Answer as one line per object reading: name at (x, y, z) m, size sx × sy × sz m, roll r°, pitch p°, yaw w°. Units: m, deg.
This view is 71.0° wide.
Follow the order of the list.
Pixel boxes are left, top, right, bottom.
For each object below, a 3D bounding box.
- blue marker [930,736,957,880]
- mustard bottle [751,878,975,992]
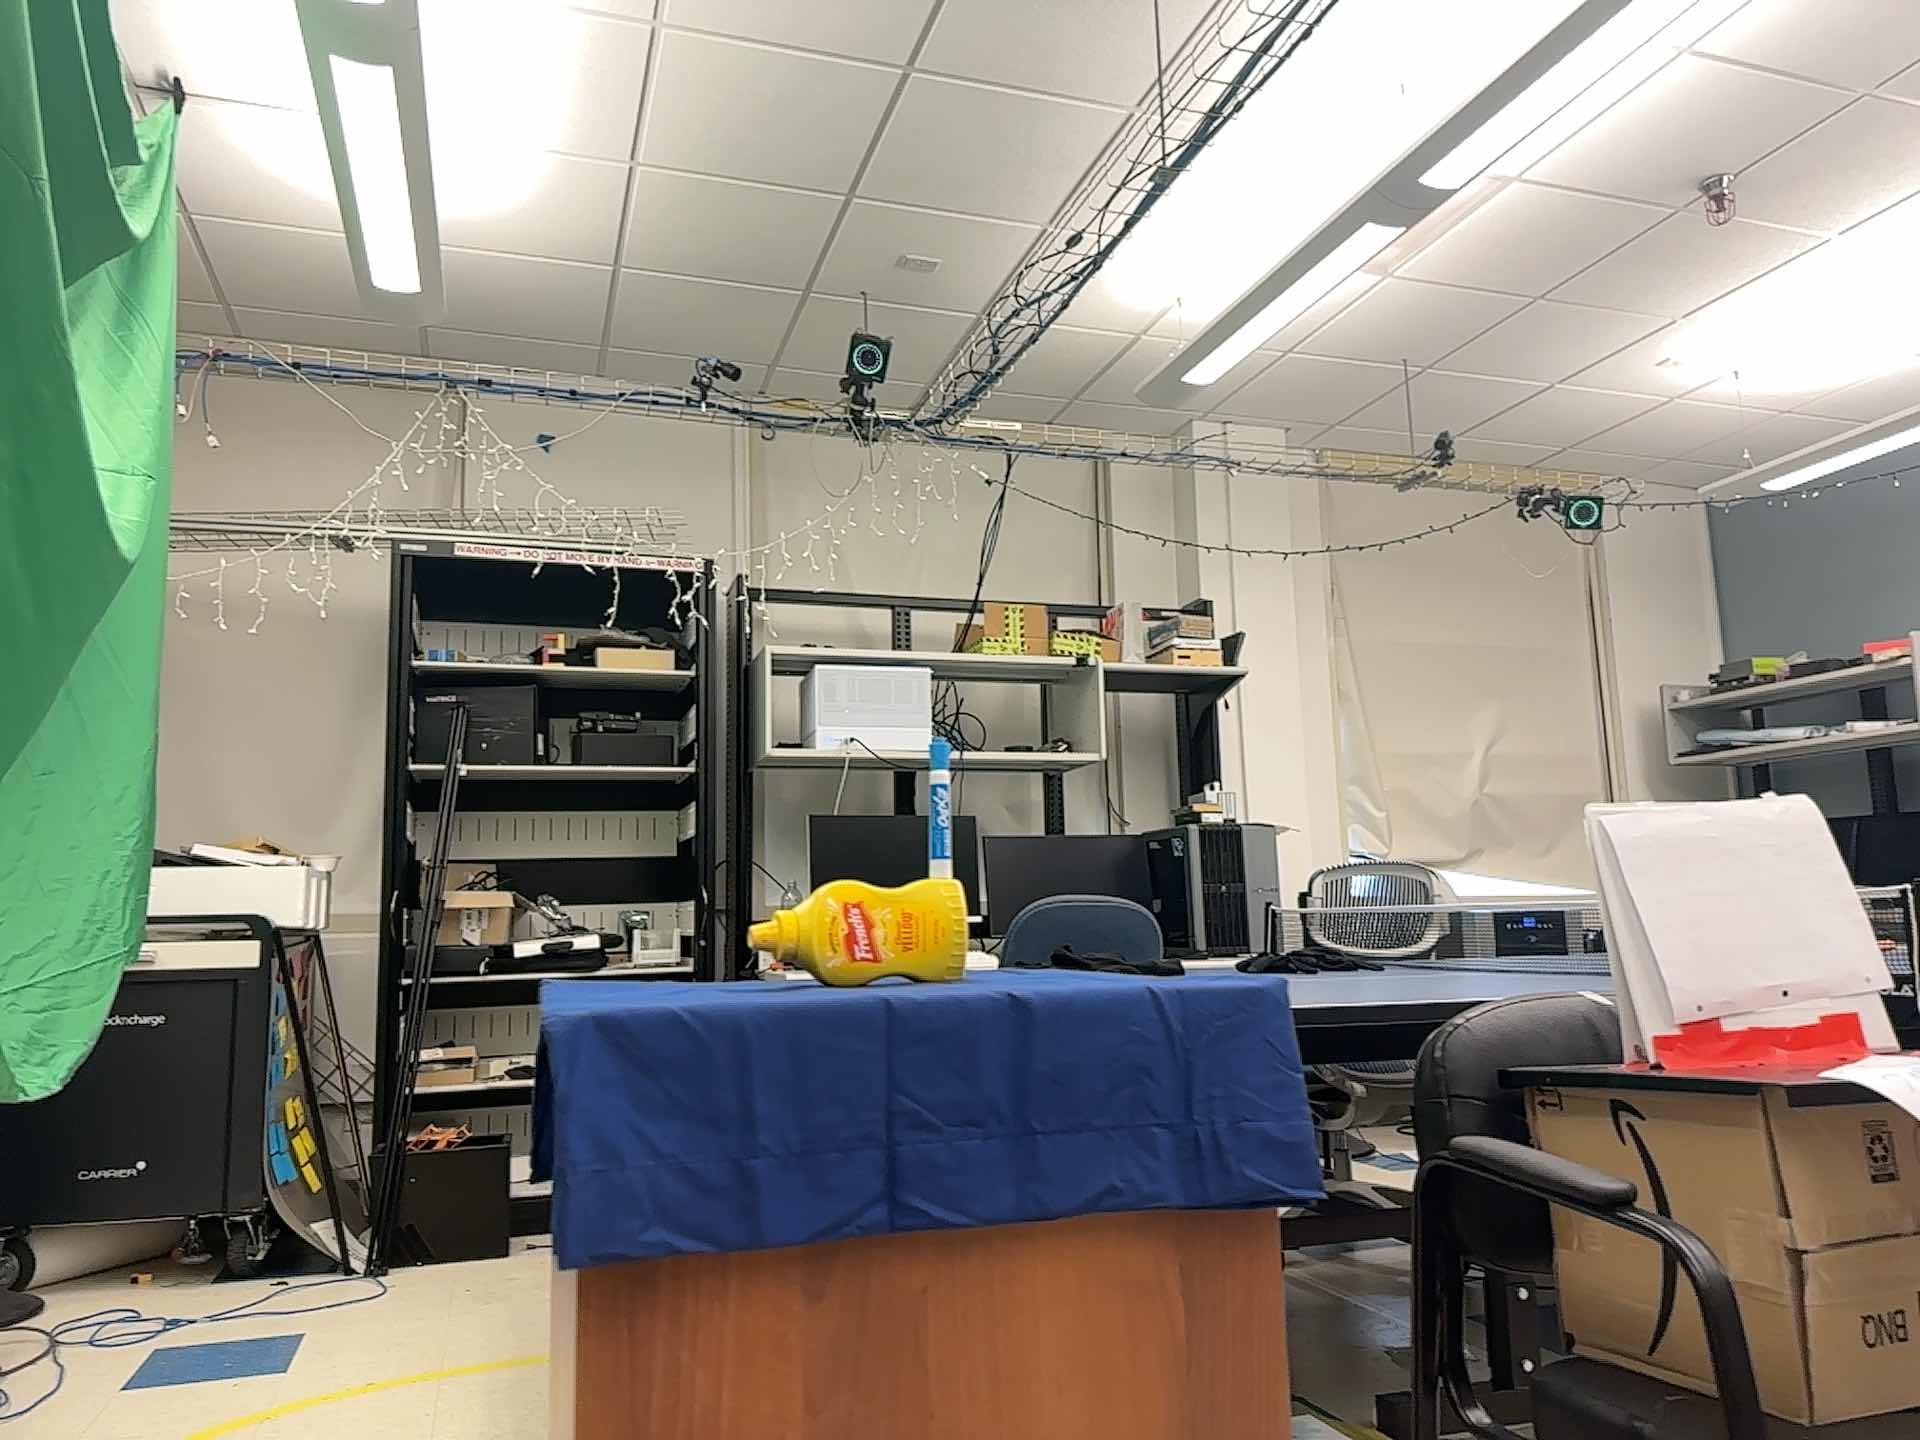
blue marker at (-0.015, 0.074, 1.145) m, size 0.020 × 0.121 × 0.020 m, roll -2°, pitch -10°, yaw 0°
mustard bottle at (-0.081, 0.176, 1.101) m, size 0.184 × 0.092 × 0.054 m, roll 2°, pitch -2°, yaw -24°
